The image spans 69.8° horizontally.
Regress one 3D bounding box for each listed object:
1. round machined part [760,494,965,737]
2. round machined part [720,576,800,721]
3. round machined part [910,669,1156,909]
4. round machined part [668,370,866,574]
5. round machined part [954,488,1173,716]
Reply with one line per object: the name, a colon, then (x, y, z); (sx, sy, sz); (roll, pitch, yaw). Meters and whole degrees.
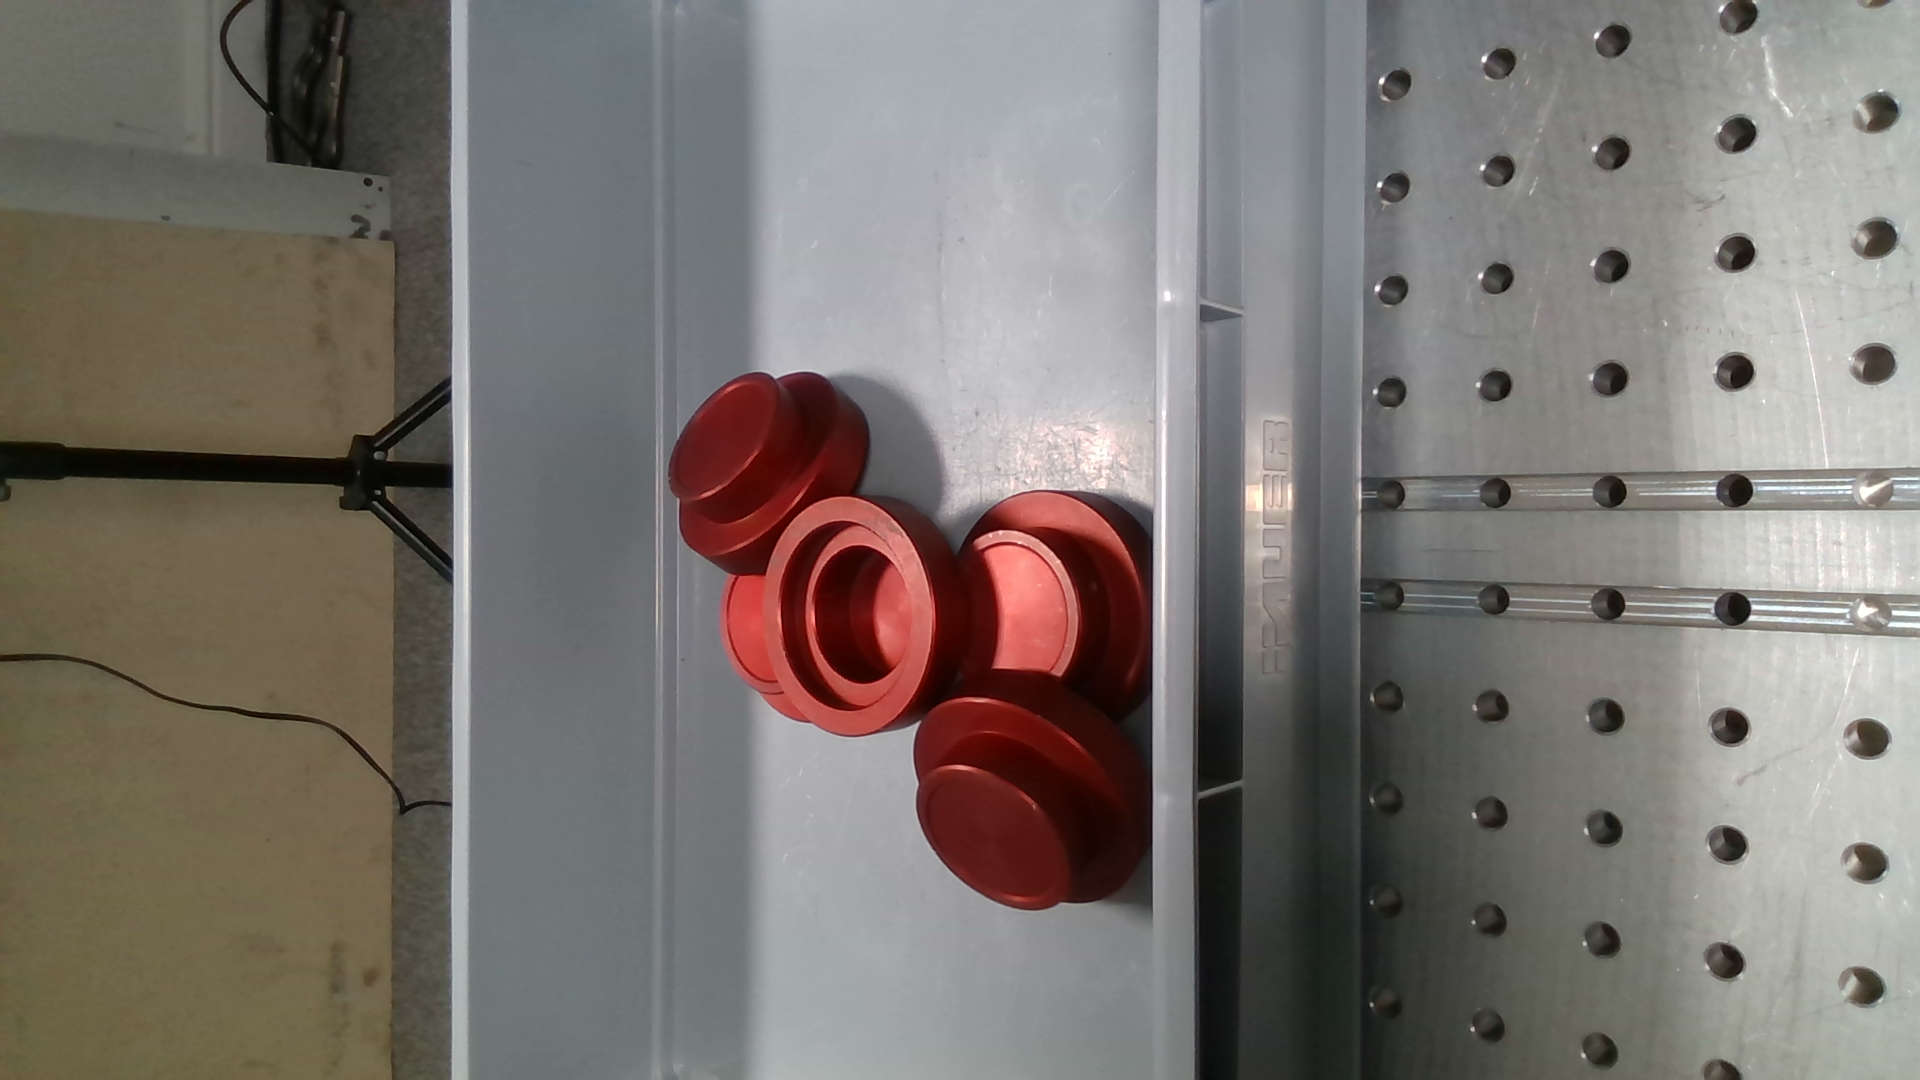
round machined part: (-0.035, 0.030, 0.570); (0.098, 0.042, 0.098); (0, 91, 40)
round machined part: (-0.072, 0.035, 0.631); (0.098, 0.042, 0.098); (0, 91, 40)
round machined part: (0.021, 0.101, 0.524); (0.098, 0.042, 0.098); (20, 131, 25)
round machined part: (-0.093, -0.037, 0.620); (0.098, 0.042, 0.098); (-25, 45, 29)
round machined part: (0.031, 0.028, 0.543); (0.098, 0.042, 0.098); (0, 91, 40)
